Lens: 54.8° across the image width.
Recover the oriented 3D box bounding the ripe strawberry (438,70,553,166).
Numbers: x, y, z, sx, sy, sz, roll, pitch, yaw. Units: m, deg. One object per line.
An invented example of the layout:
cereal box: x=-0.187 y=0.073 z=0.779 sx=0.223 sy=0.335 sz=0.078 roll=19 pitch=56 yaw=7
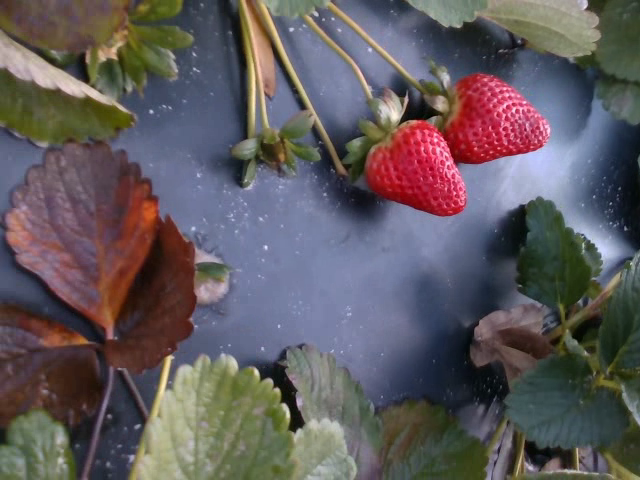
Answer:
ripe strawberry: x=0.098 y=-0.064 z=0.336 sx=0.064 sy=0.058 sz=0.051 roll=15 pitch=-12 yaw=-4

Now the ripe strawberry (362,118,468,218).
ripe strawberry: x=0.051 y=-0.034 z=0.307 sx=0.048 sy=0.056 sz=0.041 roll=-43 pitch=1 yaw=-29
